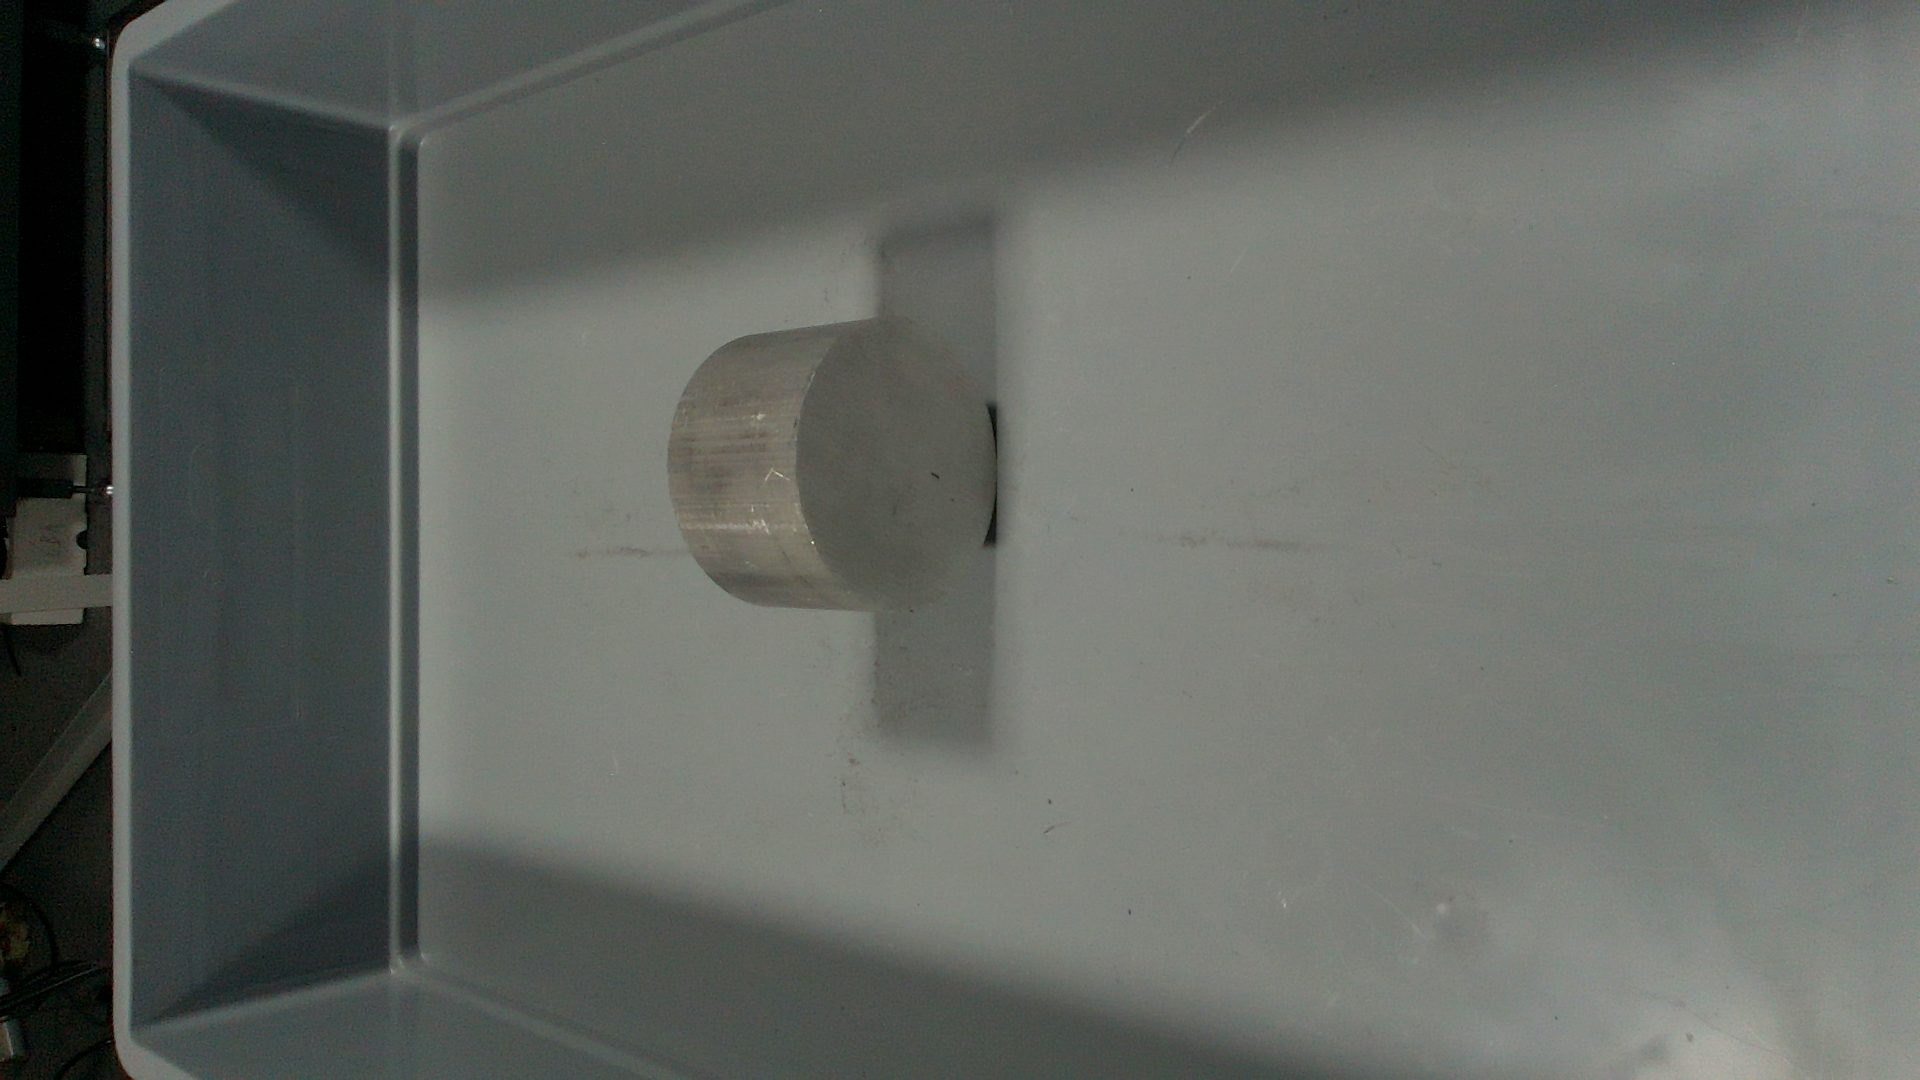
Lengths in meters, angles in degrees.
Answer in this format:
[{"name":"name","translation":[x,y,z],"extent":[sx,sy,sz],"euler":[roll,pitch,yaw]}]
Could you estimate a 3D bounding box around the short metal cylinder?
[{"name":"short metal cylinder","translation":[-0.034,-0.020,0.385],"extent":[0.050,0.080,0.080],"euler":[0,90,40]}]
